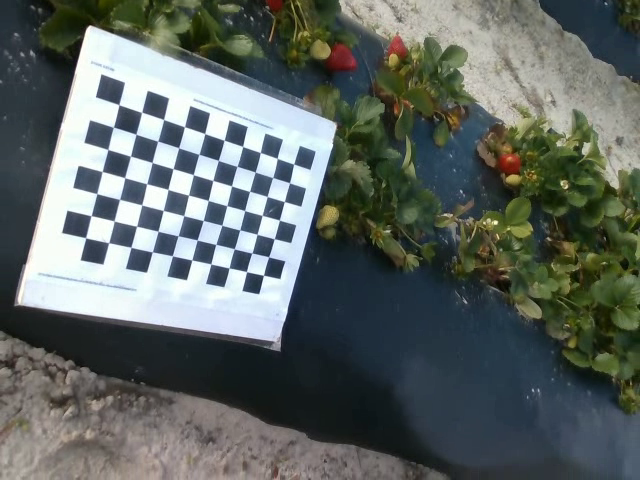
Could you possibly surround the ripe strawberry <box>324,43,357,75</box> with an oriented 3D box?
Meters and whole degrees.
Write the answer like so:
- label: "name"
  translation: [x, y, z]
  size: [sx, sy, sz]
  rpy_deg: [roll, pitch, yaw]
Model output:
- label: "ripe strawberry"
  translation: [0.040, -0.301, 1.028]
  size: [0.055, 0.051, 0.048]
  rpy_deg: [37, -16, 27]
